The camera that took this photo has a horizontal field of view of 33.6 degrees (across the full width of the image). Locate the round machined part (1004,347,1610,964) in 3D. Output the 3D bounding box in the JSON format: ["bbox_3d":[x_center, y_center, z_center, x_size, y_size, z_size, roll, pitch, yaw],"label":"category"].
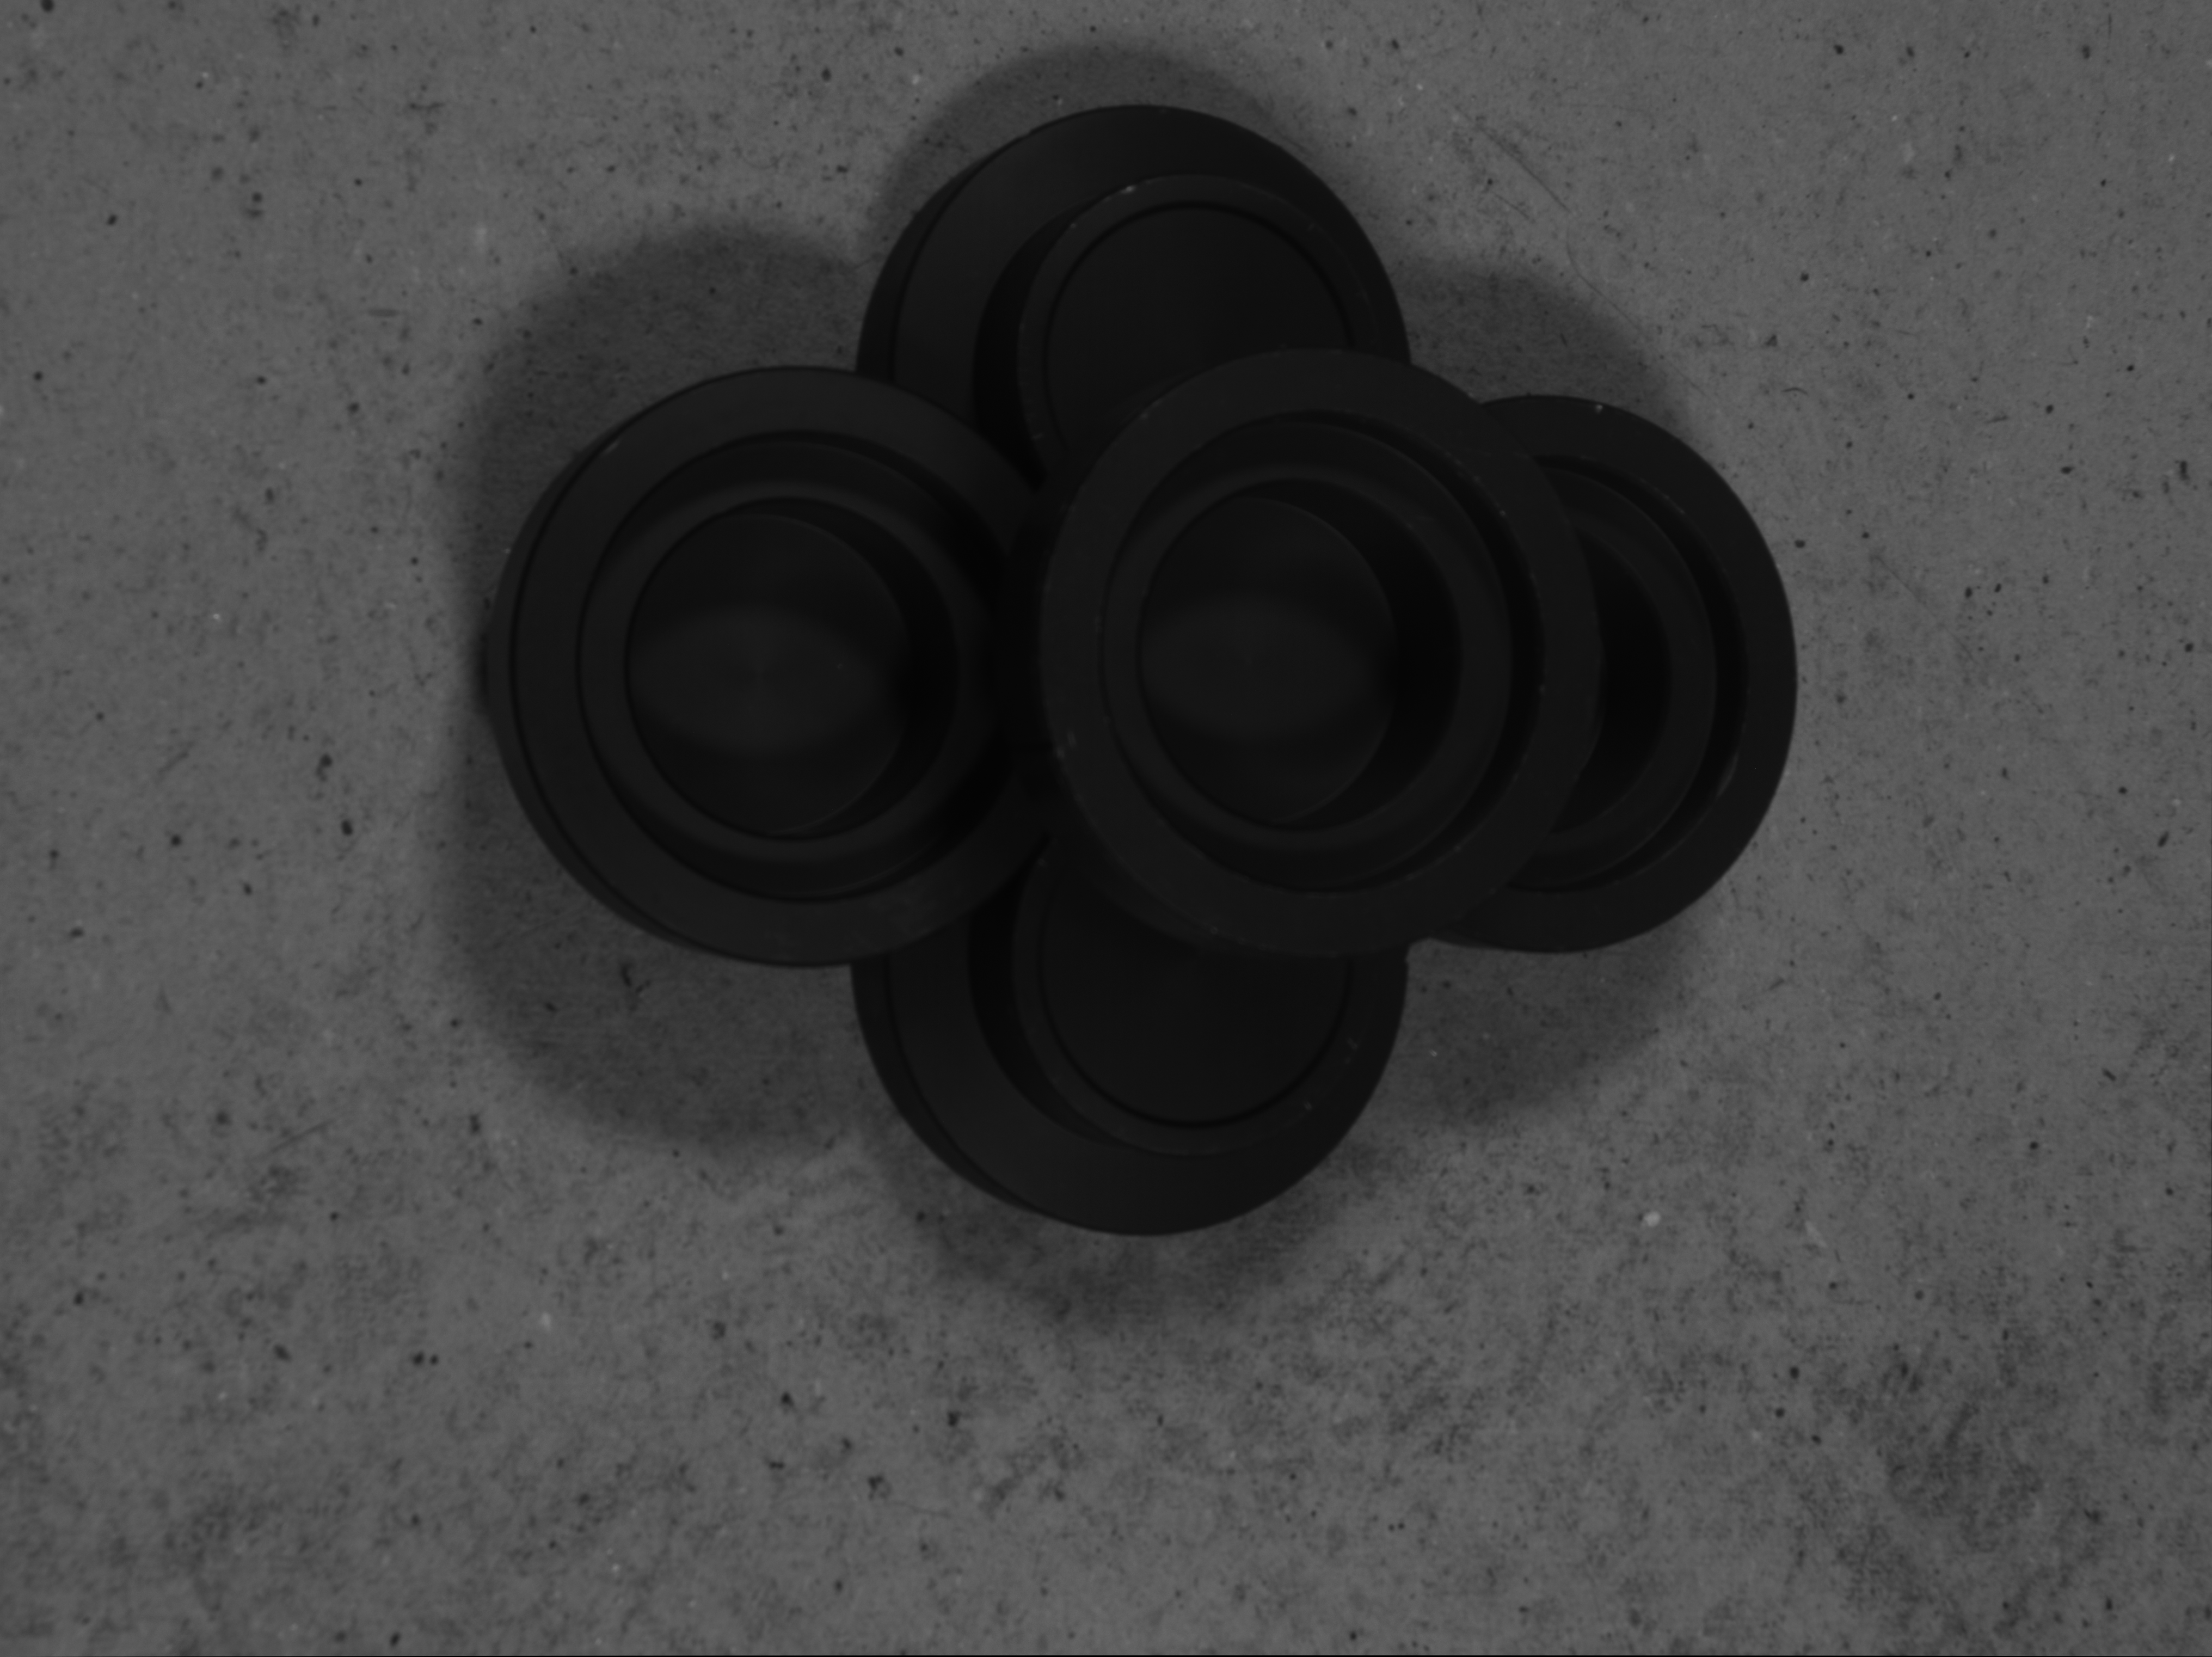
[{"bbox_3d":[0.029,-0.028,0.600,0.098,0.042,0.098,0,90,-20],"label":"round machined part"}]

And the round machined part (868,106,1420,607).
[{"bbox_3d":[0.011,-0.077,0.638,0.098,0.042,0.098,0,90,-20],"label":"round machined part"}]

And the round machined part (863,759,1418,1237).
[{"bbox_3d":[0.010,0.022,0.638,0.098,0.042,0.098,0,90,-20],"label":"round machined part"}]

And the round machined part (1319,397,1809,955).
[{"bbox_3d":[0.074,-0.027,0.661,0.098,0.042,0.098,0,90,-20],"label":"round machined part"}]

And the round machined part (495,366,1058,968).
[{"bbox_3d":[-0.054,-0.026,0.615,0.098,0.042,0.098,0,90,-20],"label":"round machined part"}]
